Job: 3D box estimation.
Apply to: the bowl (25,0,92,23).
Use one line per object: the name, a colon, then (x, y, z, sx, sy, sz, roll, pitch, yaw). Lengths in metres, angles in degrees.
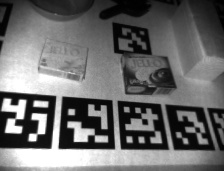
bowl: (-0.128, -0.205, 0.515, 0.163, 0.055, 0.161, 8, 63, -16)

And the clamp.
clamp: (0.023, -0.225, 0.589, 0.167, 0.036, 0.121, -5, 64, -23)

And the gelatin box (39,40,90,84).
gelatin box: (-0.096, -0.049, 0.448, 0.090, 0.030, 0.073, 12, 62, -12)

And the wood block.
wood block: (0.239, -0.129, 0.569, 0.090, 0.091, 0.205, 7, 61, -15)

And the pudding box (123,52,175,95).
pudding box: (0.085, -0.026, 0.493, 0.114, 0.038, 0.089, 3, 66, -15)
